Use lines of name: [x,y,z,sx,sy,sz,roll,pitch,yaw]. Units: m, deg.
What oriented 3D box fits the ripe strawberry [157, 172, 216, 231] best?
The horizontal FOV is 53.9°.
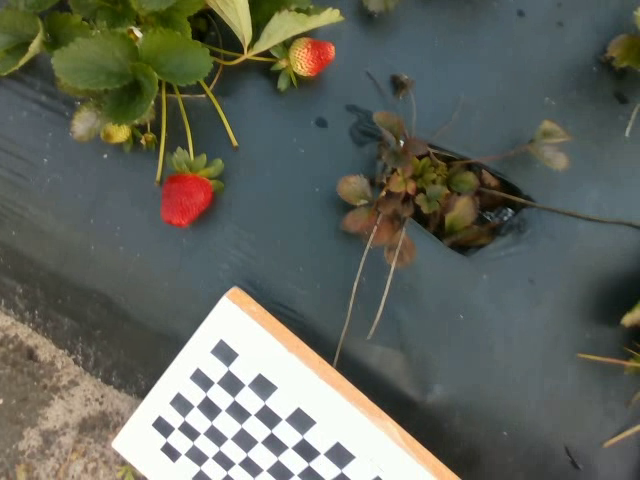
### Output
ripe strawberry: [-0.111,-0.031,0.510,0.045,0.055,0.042,-2,-40,29]
